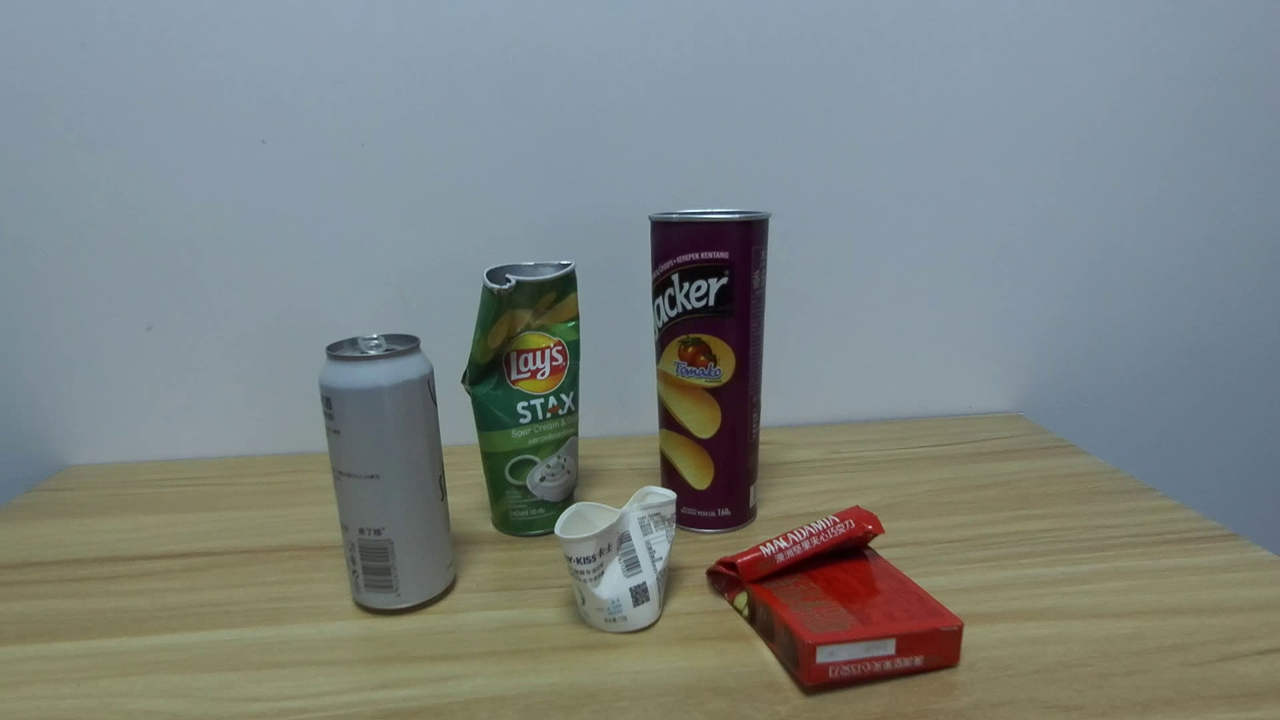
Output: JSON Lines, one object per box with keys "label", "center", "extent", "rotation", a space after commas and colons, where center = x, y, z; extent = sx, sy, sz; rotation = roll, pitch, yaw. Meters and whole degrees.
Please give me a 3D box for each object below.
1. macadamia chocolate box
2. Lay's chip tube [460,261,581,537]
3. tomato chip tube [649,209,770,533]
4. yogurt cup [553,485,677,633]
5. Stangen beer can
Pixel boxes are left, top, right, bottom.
{"label": "macadamia chocolate box", "center": [0.109, 0.140, 0.422], "extent": [0.112, 0.056, 0.126], "rotation": [-19, 20, -6]}
{"label": "Lay's chip tube", "center": [-0.084, 0.029, 0.536], "extent": [0.069, 0.201, 0.077], "rotation": [2, 19, 12]}
{"label": "tomato chip tube", "center": [0.053, 0.008, 0.531], "extent": [0.077, 0.234, 0.080], "rotation": [-13, 19, -37]}
{"label": "yogurt cup", "center": [-0.012, 0.120, 0.430], "extent": [0.053, 0.071, 0.075], "rotation": [8, 20, 26]}
{"label": "Stangen beer can", "center": [-0.158, 0.071, 0.447], "extent": [0.067, 0.171, 0.067], "rotation": [-2, 14, 1]}
